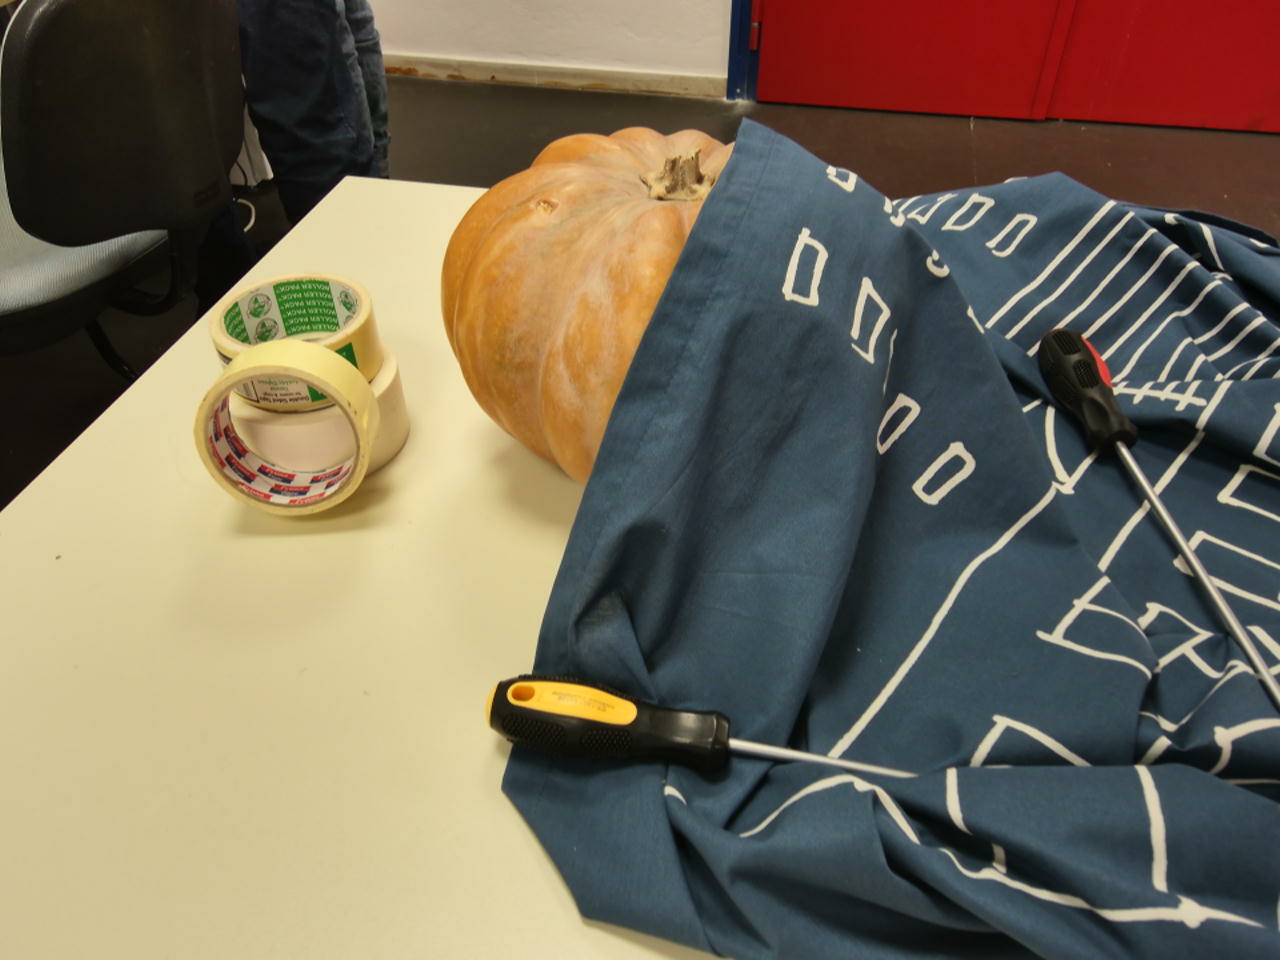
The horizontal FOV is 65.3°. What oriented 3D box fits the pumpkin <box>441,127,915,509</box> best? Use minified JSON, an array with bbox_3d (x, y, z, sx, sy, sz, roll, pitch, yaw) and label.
[{"bbox_3d":[0.019,-0.101,0.584,0.277,0.181,0.277,0,39,0],"label":"pumpkin"}]
